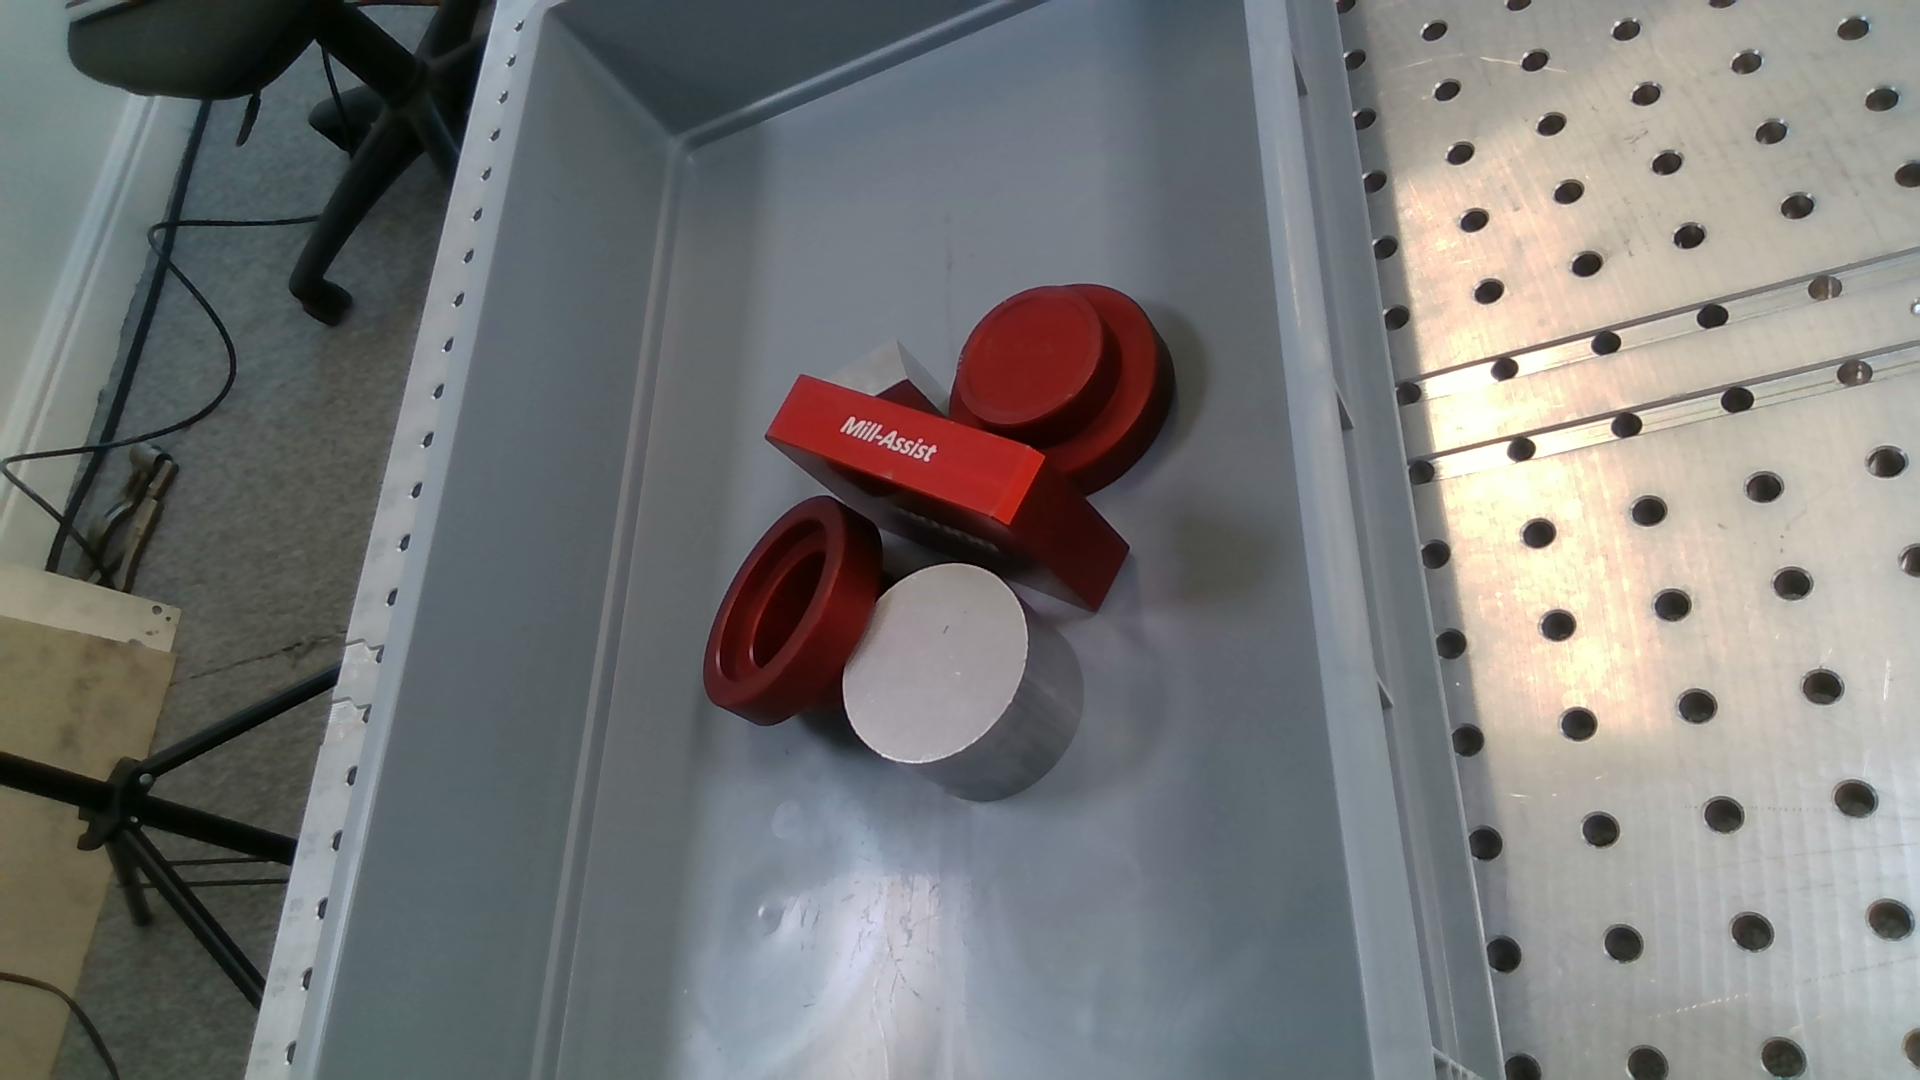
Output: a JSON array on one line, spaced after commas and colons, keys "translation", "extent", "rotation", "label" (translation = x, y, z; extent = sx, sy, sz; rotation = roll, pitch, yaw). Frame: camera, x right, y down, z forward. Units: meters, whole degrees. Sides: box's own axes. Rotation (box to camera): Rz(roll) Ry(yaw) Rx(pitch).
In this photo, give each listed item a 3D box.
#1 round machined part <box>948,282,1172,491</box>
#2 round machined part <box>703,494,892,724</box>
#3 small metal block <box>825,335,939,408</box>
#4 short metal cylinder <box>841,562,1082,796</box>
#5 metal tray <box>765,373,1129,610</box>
[{"translation": [0.037, -0.069, 0.586], "extent": [0.098, 0.042, 0.098], "rotation": [-14, 59, 25], "label": "round machined part"}, {"translation": [-0.063, 0.033, 0.580], "extent": [0.098, 0.042, 0.098], "rotation": [-38, 34, 33], "label": "round machined part"}, {"translation": [-0.035, -0.058, 0.620], "extent": [0.050, 0.050, 0.025], "rotation": [-28, 54, 16], "label": "small metal block"}, {"translation": [0.001, 0.055, 0.538], "extent": [0.080, 0.050, 0.080], "rotation": [-14, 59, 25], "label": "short metal cylinder"}, {"translation": [-0.006, -0.020, 0.556], "extent": [0.130, 0.090, 0.030], "rotation": [21, 78, 37], "label": "metal tray"}]
